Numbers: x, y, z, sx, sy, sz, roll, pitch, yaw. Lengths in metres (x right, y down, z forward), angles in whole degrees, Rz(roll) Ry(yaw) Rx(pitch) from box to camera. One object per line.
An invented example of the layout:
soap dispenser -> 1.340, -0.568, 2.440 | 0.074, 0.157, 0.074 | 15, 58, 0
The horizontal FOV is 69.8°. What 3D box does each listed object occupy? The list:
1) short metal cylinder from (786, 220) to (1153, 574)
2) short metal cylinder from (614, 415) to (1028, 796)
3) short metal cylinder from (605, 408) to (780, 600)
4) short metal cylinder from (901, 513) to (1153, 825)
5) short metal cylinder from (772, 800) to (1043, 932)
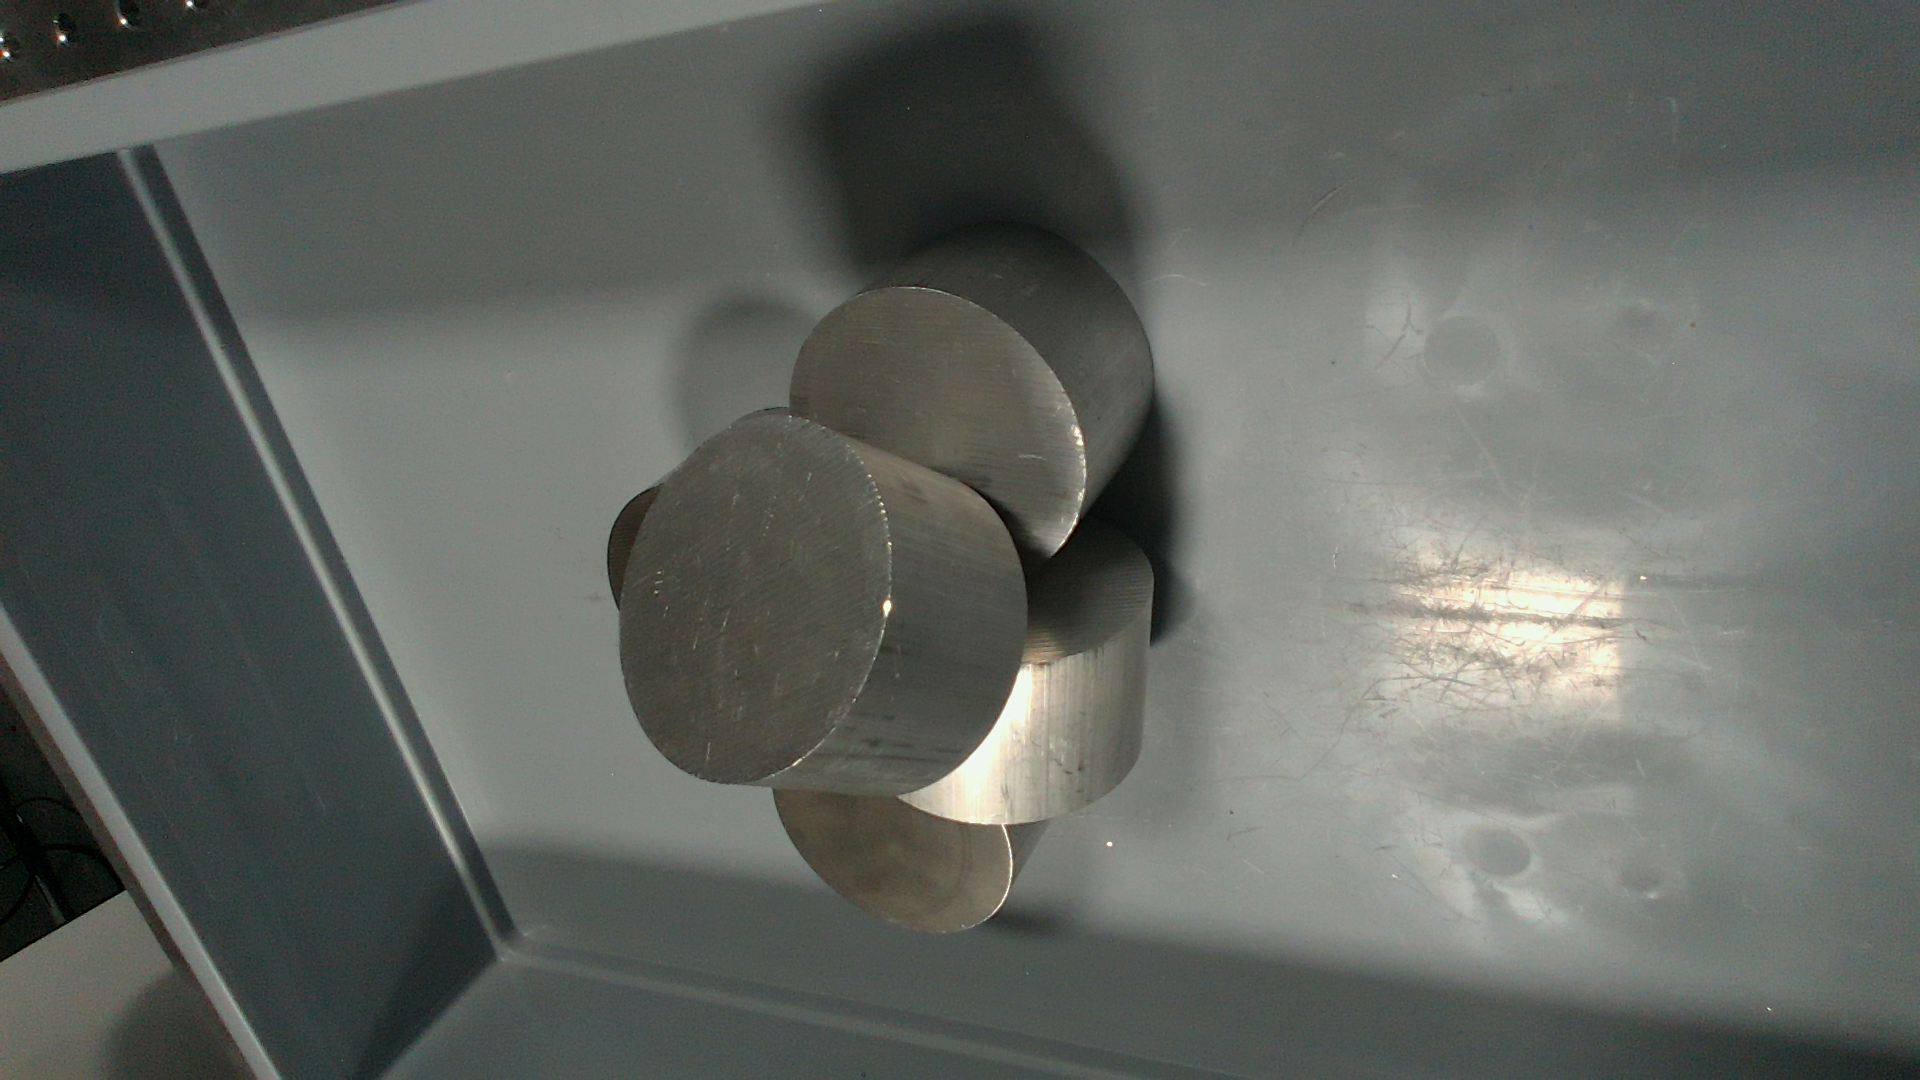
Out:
short metal cylinder -> 0.003, -0.035, 0.352 | 0.080, 0.050, 0.080 | 13, 124, 21
short metal cylinder -> -0.032, 0.017, 0.312 | 0.080, 0.050, 0.080 | -9, 74, 34
short metal cylinder -> -0.057, 0.007, 0.410 | 0.080, 0.050, 0.080 | 13, 124, 21
short metal cylinder -> 0.010, 0.030, 0.370 | 0.080, 0.080, 0.050 | 13, 124, 21
short metal cylinder -> -0.011, 0.073, 0.426 | 0.080, 0.050, 0.080 | 13, 124, 21
